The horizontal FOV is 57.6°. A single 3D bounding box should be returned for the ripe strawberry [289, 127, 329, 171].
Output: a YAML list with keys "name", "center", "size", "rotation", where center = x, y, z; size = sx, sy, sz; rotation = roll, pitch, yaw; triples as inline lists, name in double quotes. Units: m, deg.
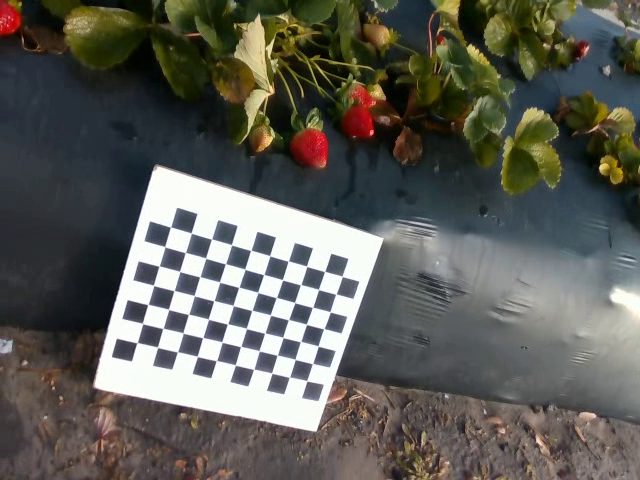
- name: "ripe strawberry"
  center: [-0.007, -0.110, 0.703]
  size: [0.050, 0.065, 0.050]
  rotation: [-23, -39, -5]

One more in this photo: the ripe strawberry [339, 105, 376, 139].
- name: "ripe strawberry"
  center: [0.053, -0.149, 0.749]
  size: [0.055, 0.044, 0.042]
  rotation: [45, 1, 34]
